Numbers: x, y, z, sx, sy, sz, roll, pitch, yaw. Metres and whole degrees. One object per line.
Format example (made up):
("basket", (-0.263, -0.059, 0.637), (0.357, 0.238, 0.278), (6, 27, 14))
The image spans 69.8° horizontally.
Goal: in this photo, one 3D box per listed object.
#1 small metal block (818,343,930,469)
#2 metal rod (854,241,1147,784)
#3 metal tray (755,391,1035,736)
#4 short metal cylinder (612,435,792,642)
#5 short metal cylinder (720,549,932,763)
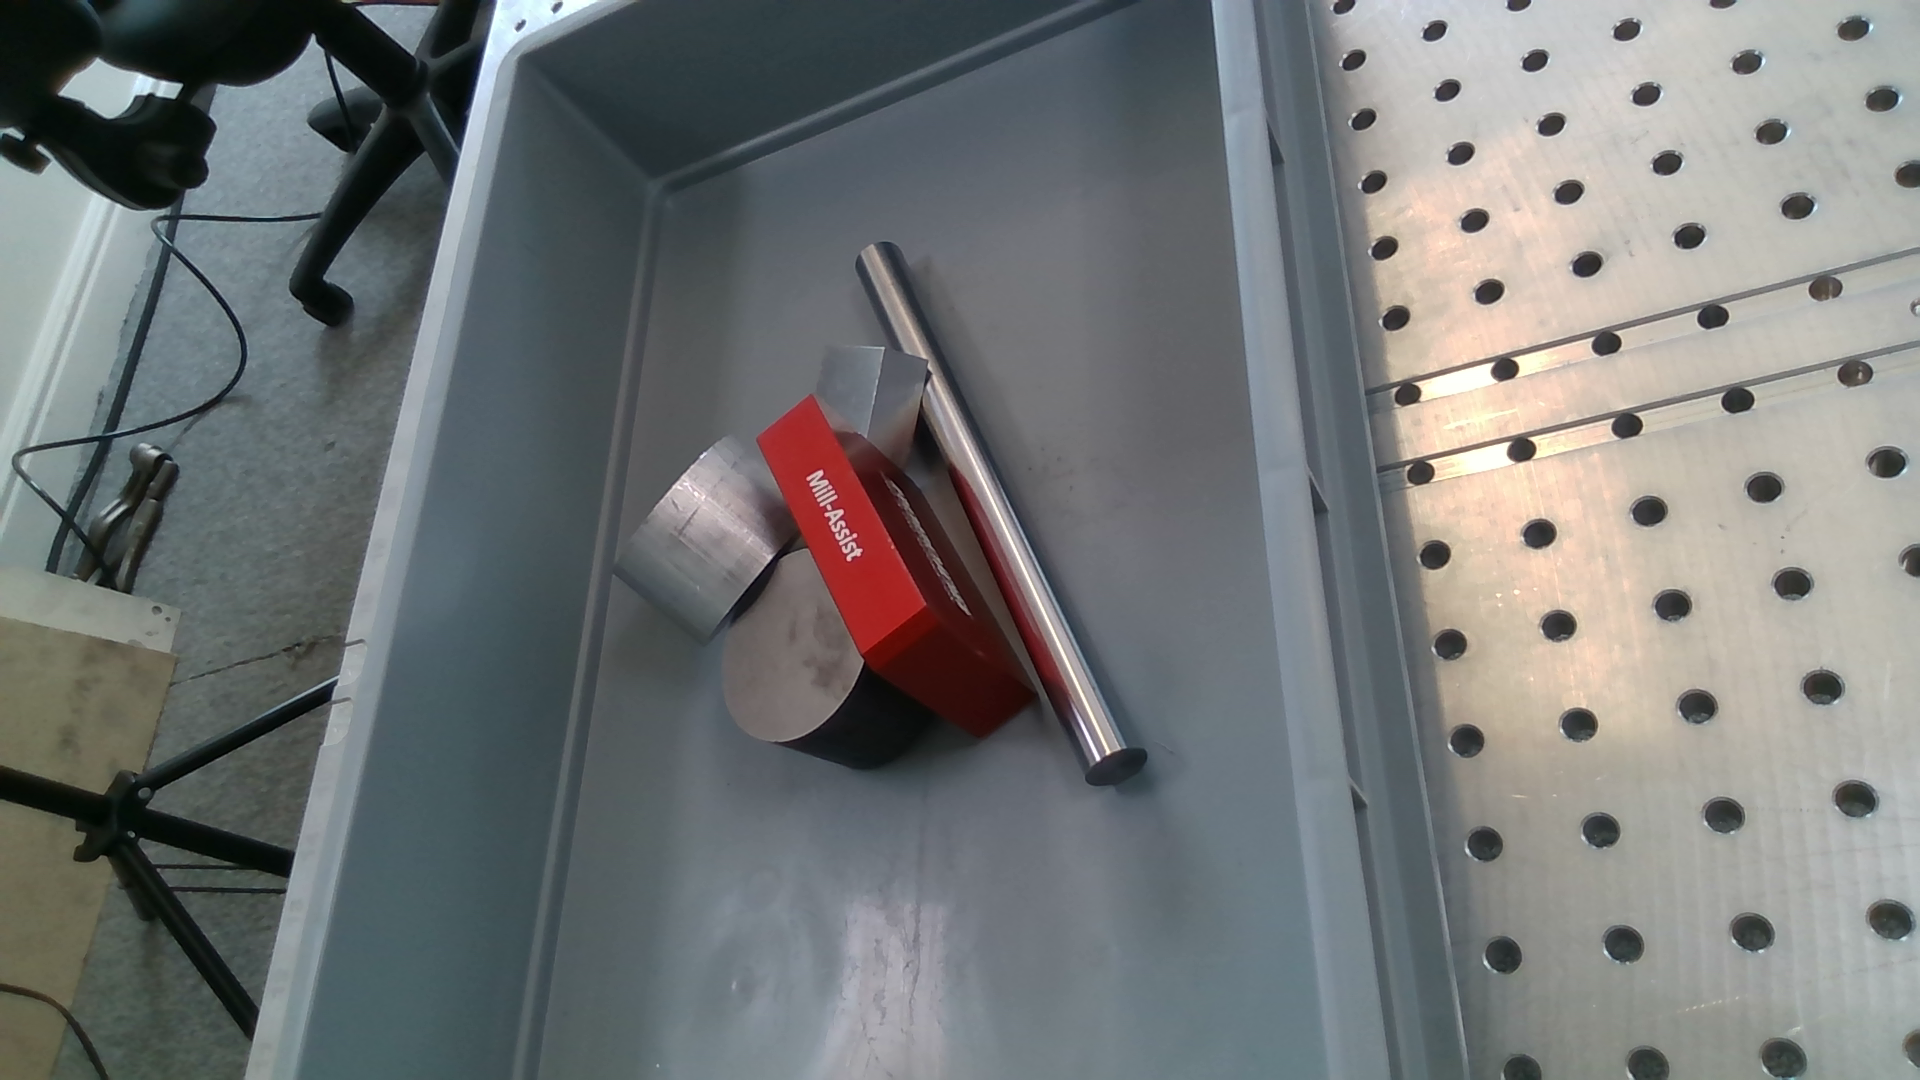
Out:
("small metal block", (-0.043, -0.062, 0.627), (0.050, 0.025, 0.050), (14, 92, 52))
("metal rod", (0.008, -0.028, 0.594), (0.025, 0.025, 0.299), (-33, 53, 13))
("metal tray", (-0.027, 0.009, 0.554), (0.030, 0.090, 0.130), (-37, 52, 9))
("short metal cylinder", (-0.107, 0.000, 0.606), (0.050, 0.080, 0.080), (40, 89, -2))
("short metal cylinder", (-0.052, 0.049, 0.568), (0.080, 0.050, 0.080), (-16, 62, 33))
